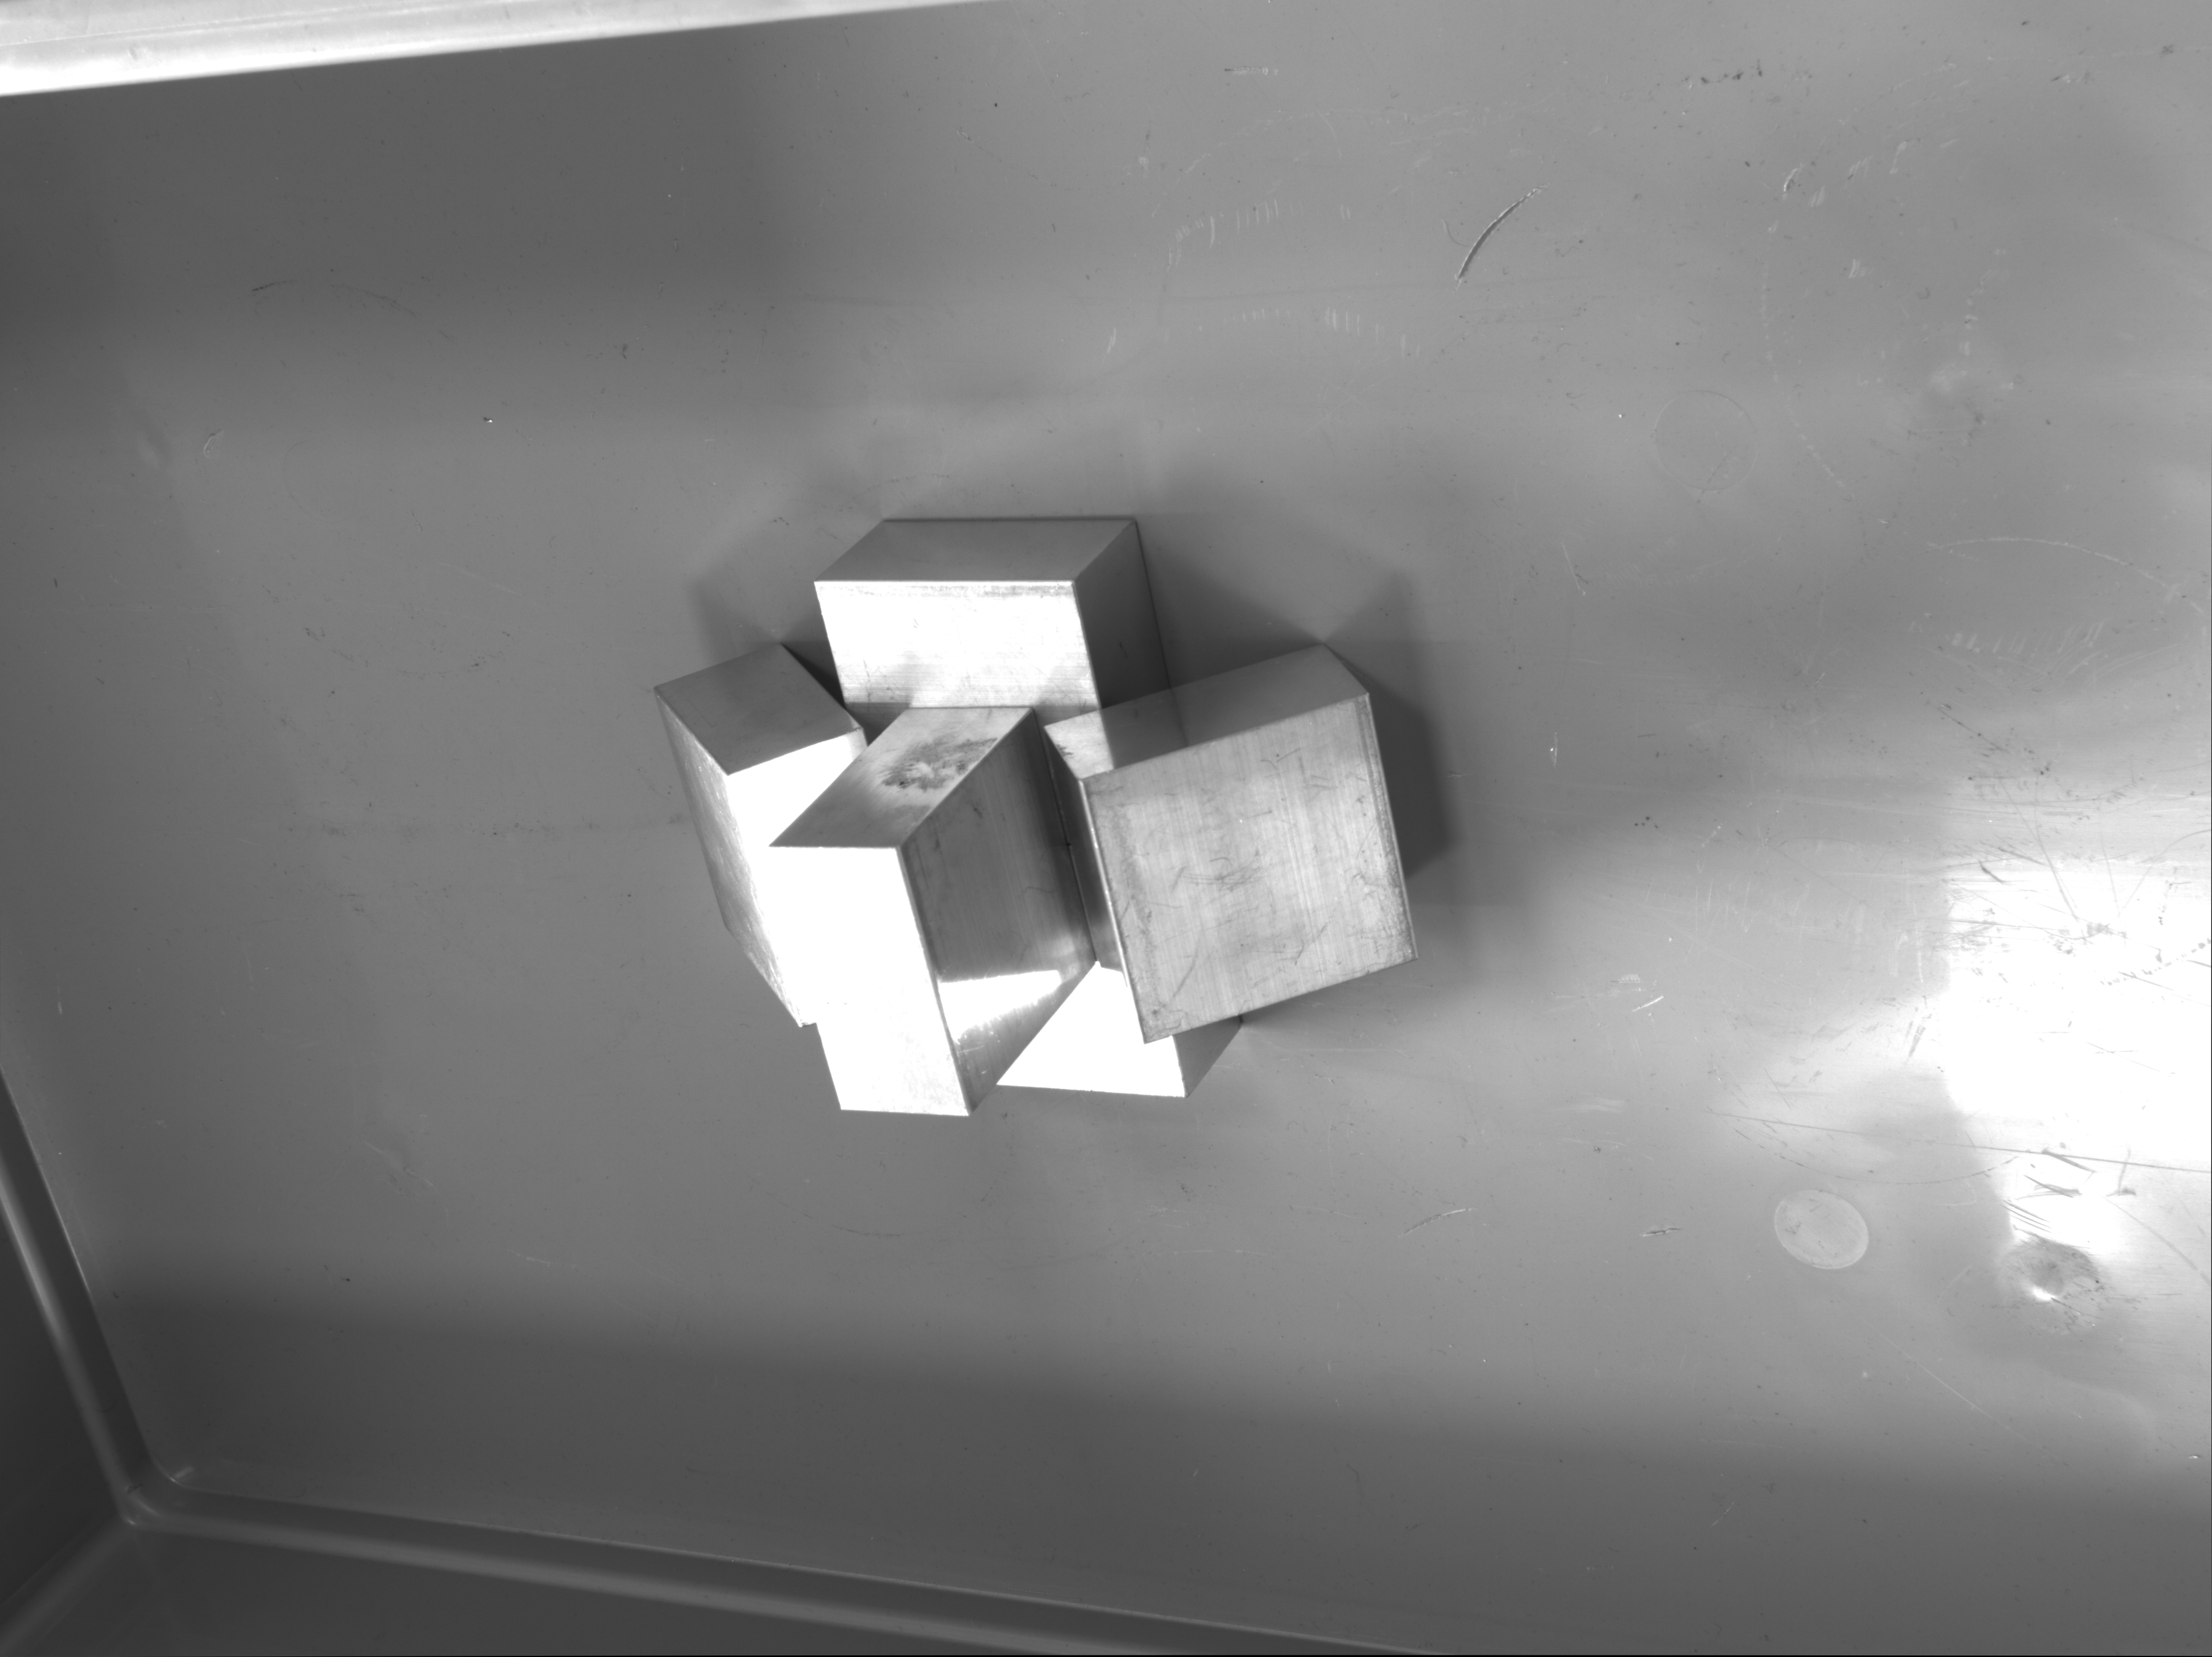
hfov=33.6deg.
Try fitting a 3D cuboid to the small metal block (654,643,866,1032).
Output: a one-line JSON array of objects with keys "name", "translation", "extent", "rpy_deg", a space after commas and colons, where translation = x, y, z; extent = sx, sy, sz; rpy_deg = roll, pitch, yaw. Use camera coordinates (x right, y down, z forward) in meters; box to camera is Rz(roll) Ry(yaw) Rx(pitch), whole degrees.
[{"name": "small metal block", "translation": [-0.056, 0.001, 0.654], "extent": [0.050, 0.025, 0.050], "rpy_deg": [-137, 29, -61]}]

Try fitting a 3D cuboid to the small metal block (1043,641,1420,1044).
[{"name": "small metal block", "translation": [0.021, 0.002, 0.615], "extent": [0.050, 0.025, 0.050], "rpy_deg": [-17, 116, -8]}]

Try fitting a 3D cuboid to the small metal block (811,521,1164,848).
[{"name": "small metal block", "translation": [-0.018, -0.025, 0.634], "extent": [0.050, 0.025, 0.050], "rpy_deg": [2, 119, 26]}]

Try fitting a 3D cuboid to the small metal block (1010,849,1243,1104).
[{"name": "small metal block", "translation": [-0.007, 0.020, 0.656], "extent": [0.050, 0.025, 0.050], "rpy_deg": [3, 119, 27]}]

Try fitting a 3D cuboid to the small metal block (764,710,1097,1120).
[{"name": "small metal block", "translation": [-0.028, 0.014, 0.615], "extent": [0.025, 0.050, 0.050], "rpy_deg": [0, 118, 28]}]
